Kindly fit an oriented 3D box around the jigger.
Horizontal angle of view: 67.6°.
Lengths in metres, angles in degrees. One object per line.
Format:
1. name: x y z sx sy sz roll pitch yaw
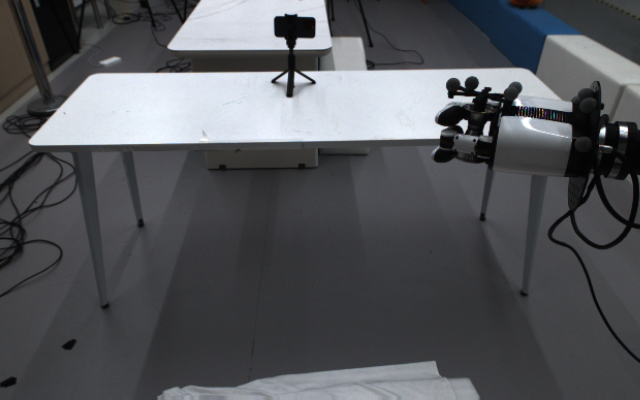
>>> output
1. jigger: 0.207 -0.089 0.642 0.043 0.071 0.043 3 25 -1
